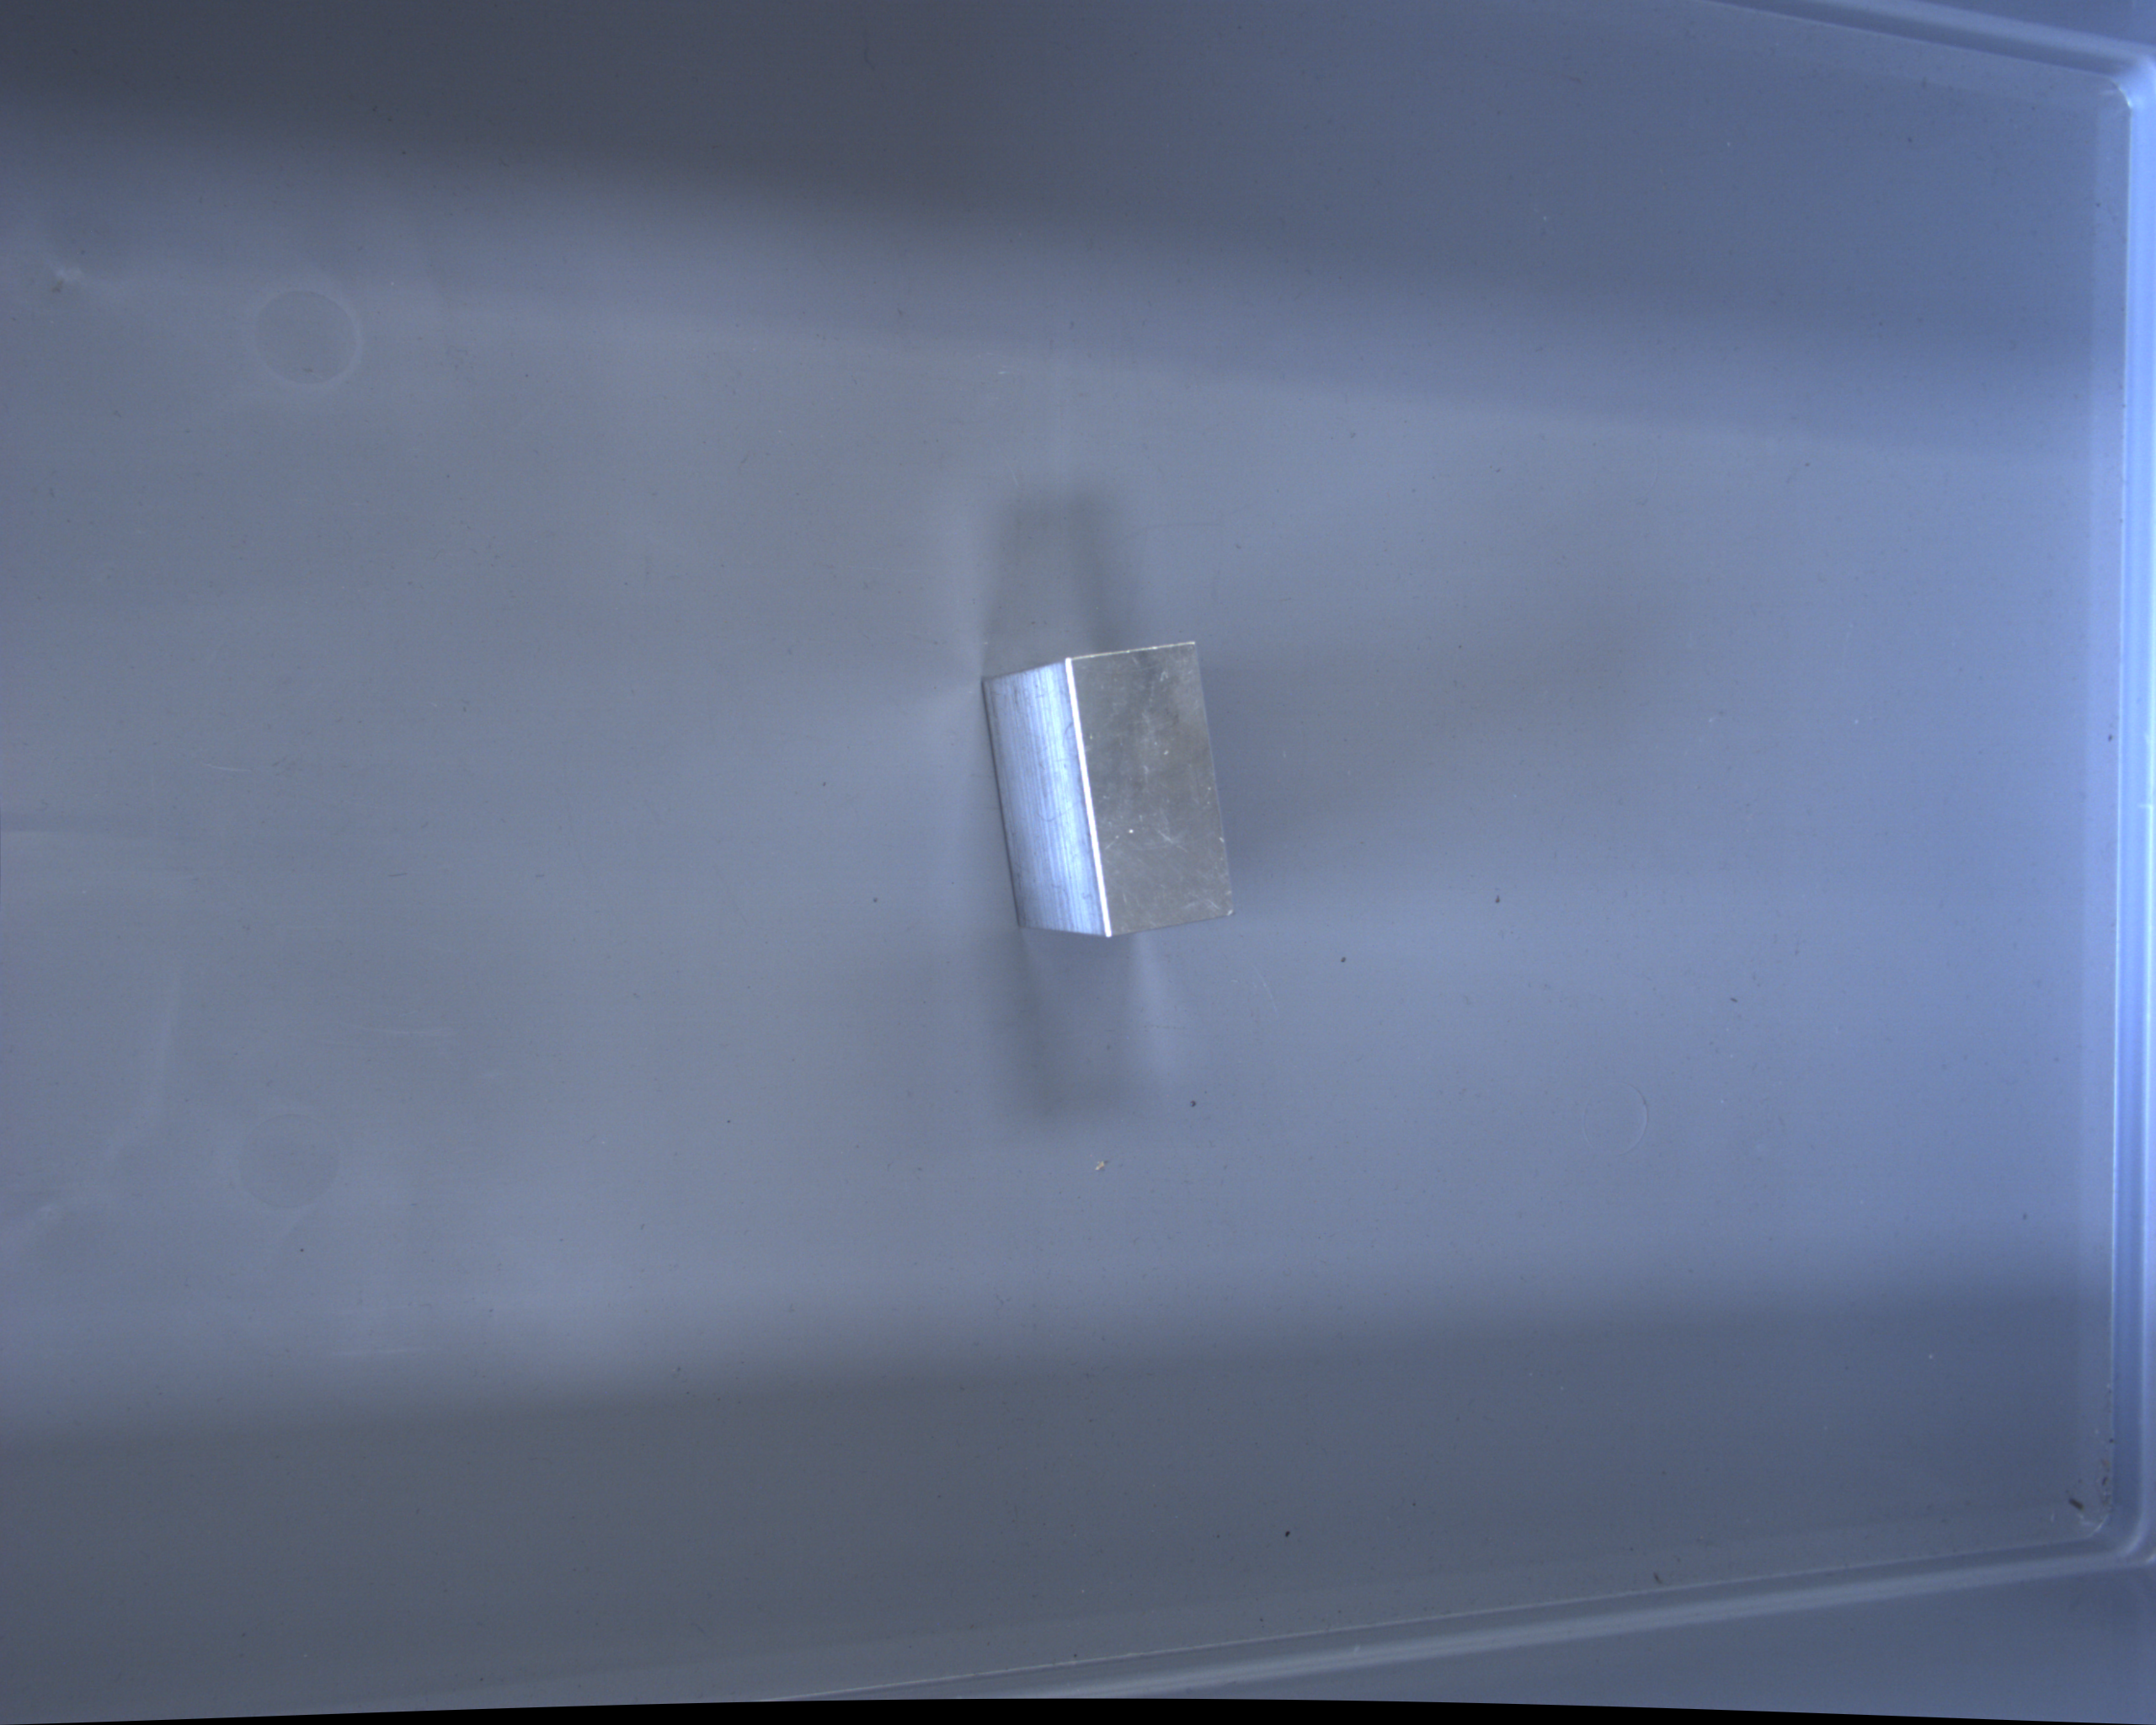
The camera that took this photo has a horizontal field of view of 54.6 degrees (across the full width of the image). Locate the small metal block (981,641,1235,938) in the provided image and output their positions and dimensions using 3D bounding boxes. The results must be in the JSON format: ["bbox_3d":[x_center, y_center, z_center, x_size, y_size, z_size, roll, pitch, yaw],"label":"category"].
[{"bbox_3d":[0.004,-0.013,0.395,0.025,0.050,0.050,-9,93,-20],"label":"small metal block"}]
